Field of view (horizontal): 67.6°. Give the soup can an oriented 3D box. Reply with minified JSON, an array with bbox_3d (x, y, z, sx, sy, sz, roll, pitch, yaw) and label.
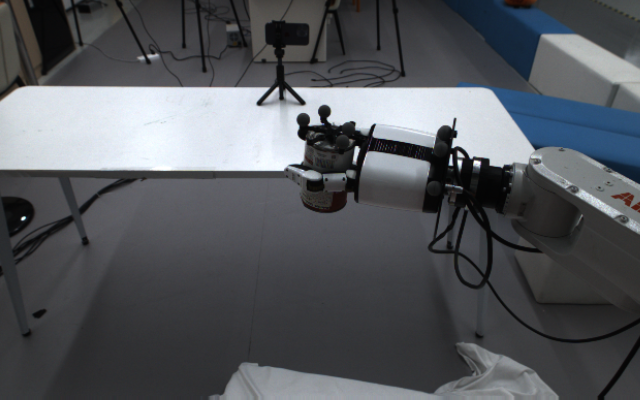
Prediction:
[{"bbox_3d":[0.010,-0.042,0.660,0.067,0.101,0.067,5,36,-4],"label":"soup can"}]
